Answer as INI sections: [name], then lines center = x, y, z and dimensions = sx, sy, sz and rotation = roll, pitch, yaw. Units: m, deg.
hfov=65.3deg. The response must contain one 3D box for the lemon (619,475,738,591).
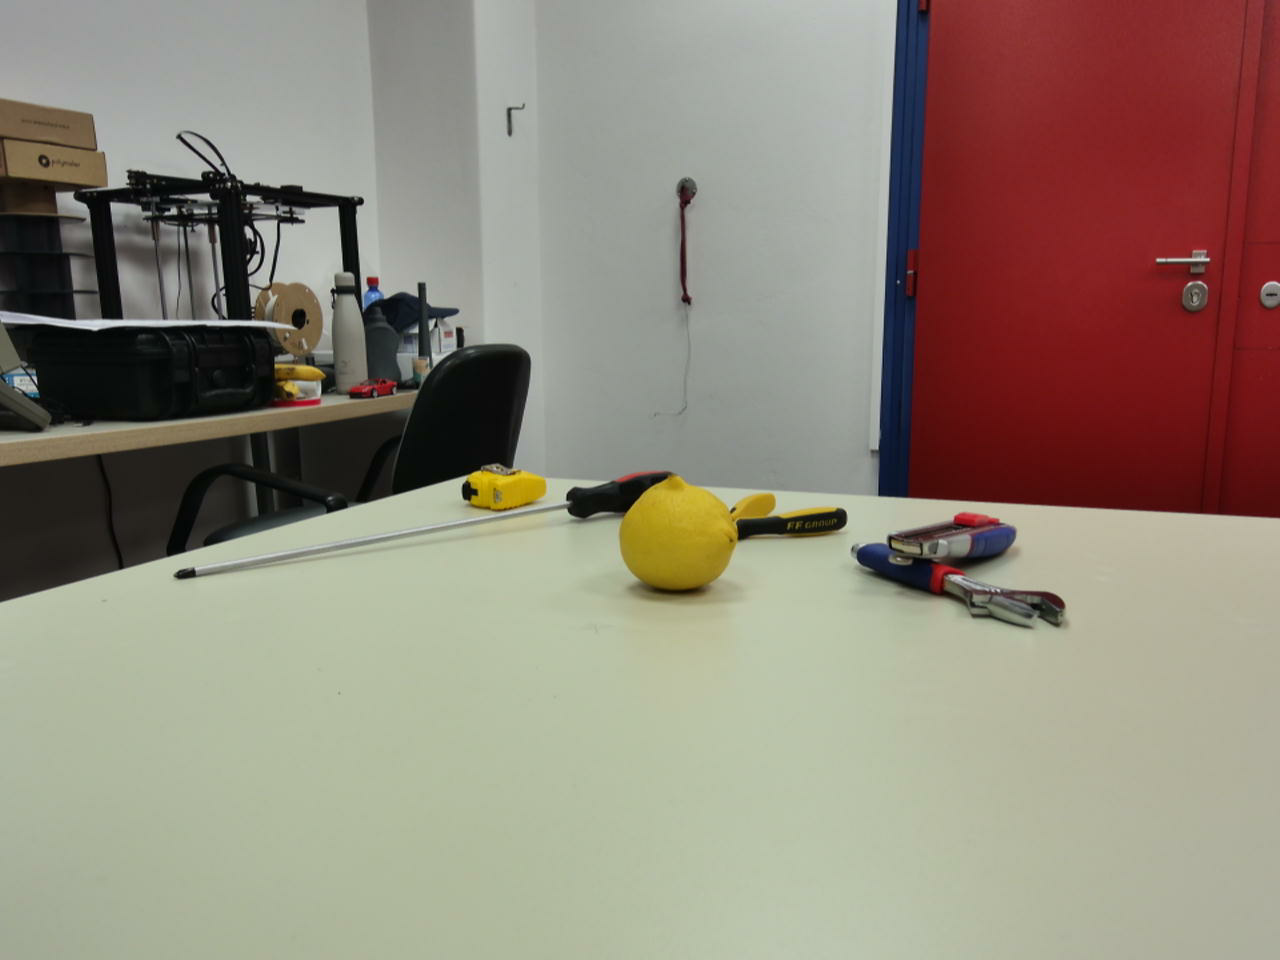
[lemon]
center = 0.023, 0.032, 0.618
dimensions = 0.070, 0.071, 0.071
rotation = -2, 7, -11
